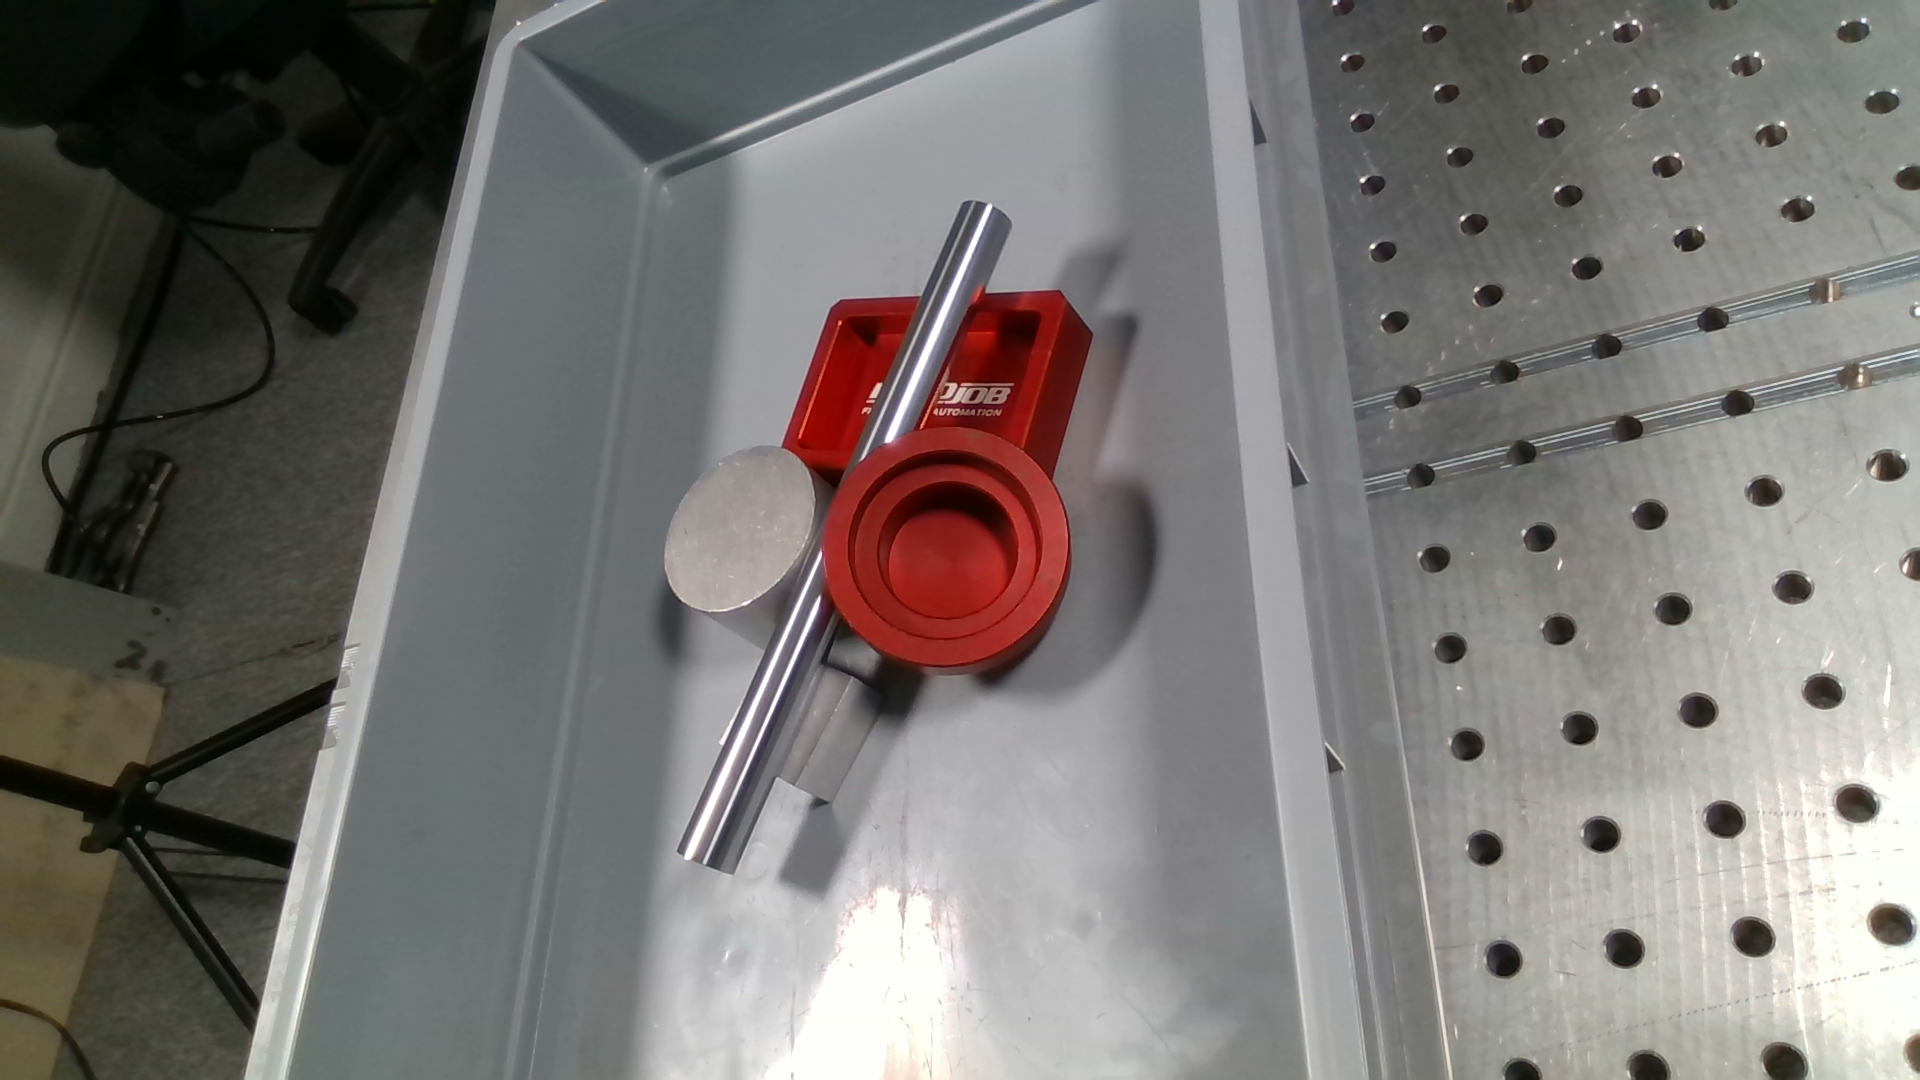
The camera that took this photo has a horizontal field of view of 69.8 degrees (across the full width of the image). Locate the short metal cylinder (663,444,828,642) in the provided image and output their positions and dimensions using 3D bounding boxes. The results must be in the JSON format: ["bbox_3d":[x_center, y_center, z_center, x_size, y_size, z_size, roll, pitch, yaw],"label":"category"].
[{"bbox_3d":[-0.085,0.004,0.617,0.080,0.050,0.080,-14,59,25],"label":"short metal cylinder"}]

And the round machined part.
[{"bbox_3d":[-0.005,0.006,0.556,0.098,0.042,0.098,-2,75,6],"label":"round machined part"}]

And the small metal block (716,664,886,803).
[{"bbox_3d":[-0.068,0.076,0.585,0.050,0.025,0.050,20,77,37],"label":"small metal block"}]

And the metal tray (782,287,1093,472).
[{"bbox_3d":[-0.013,-0.066,0.622,0.130,0.030,0.090,4,68,33],"label":"metal tray"}]

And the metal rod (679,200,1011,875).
[{"bbox_3d":[-0.045,-0.007,0.578,0.025,0.025,0.300,14,76,36],"label":"metal rod"}]
